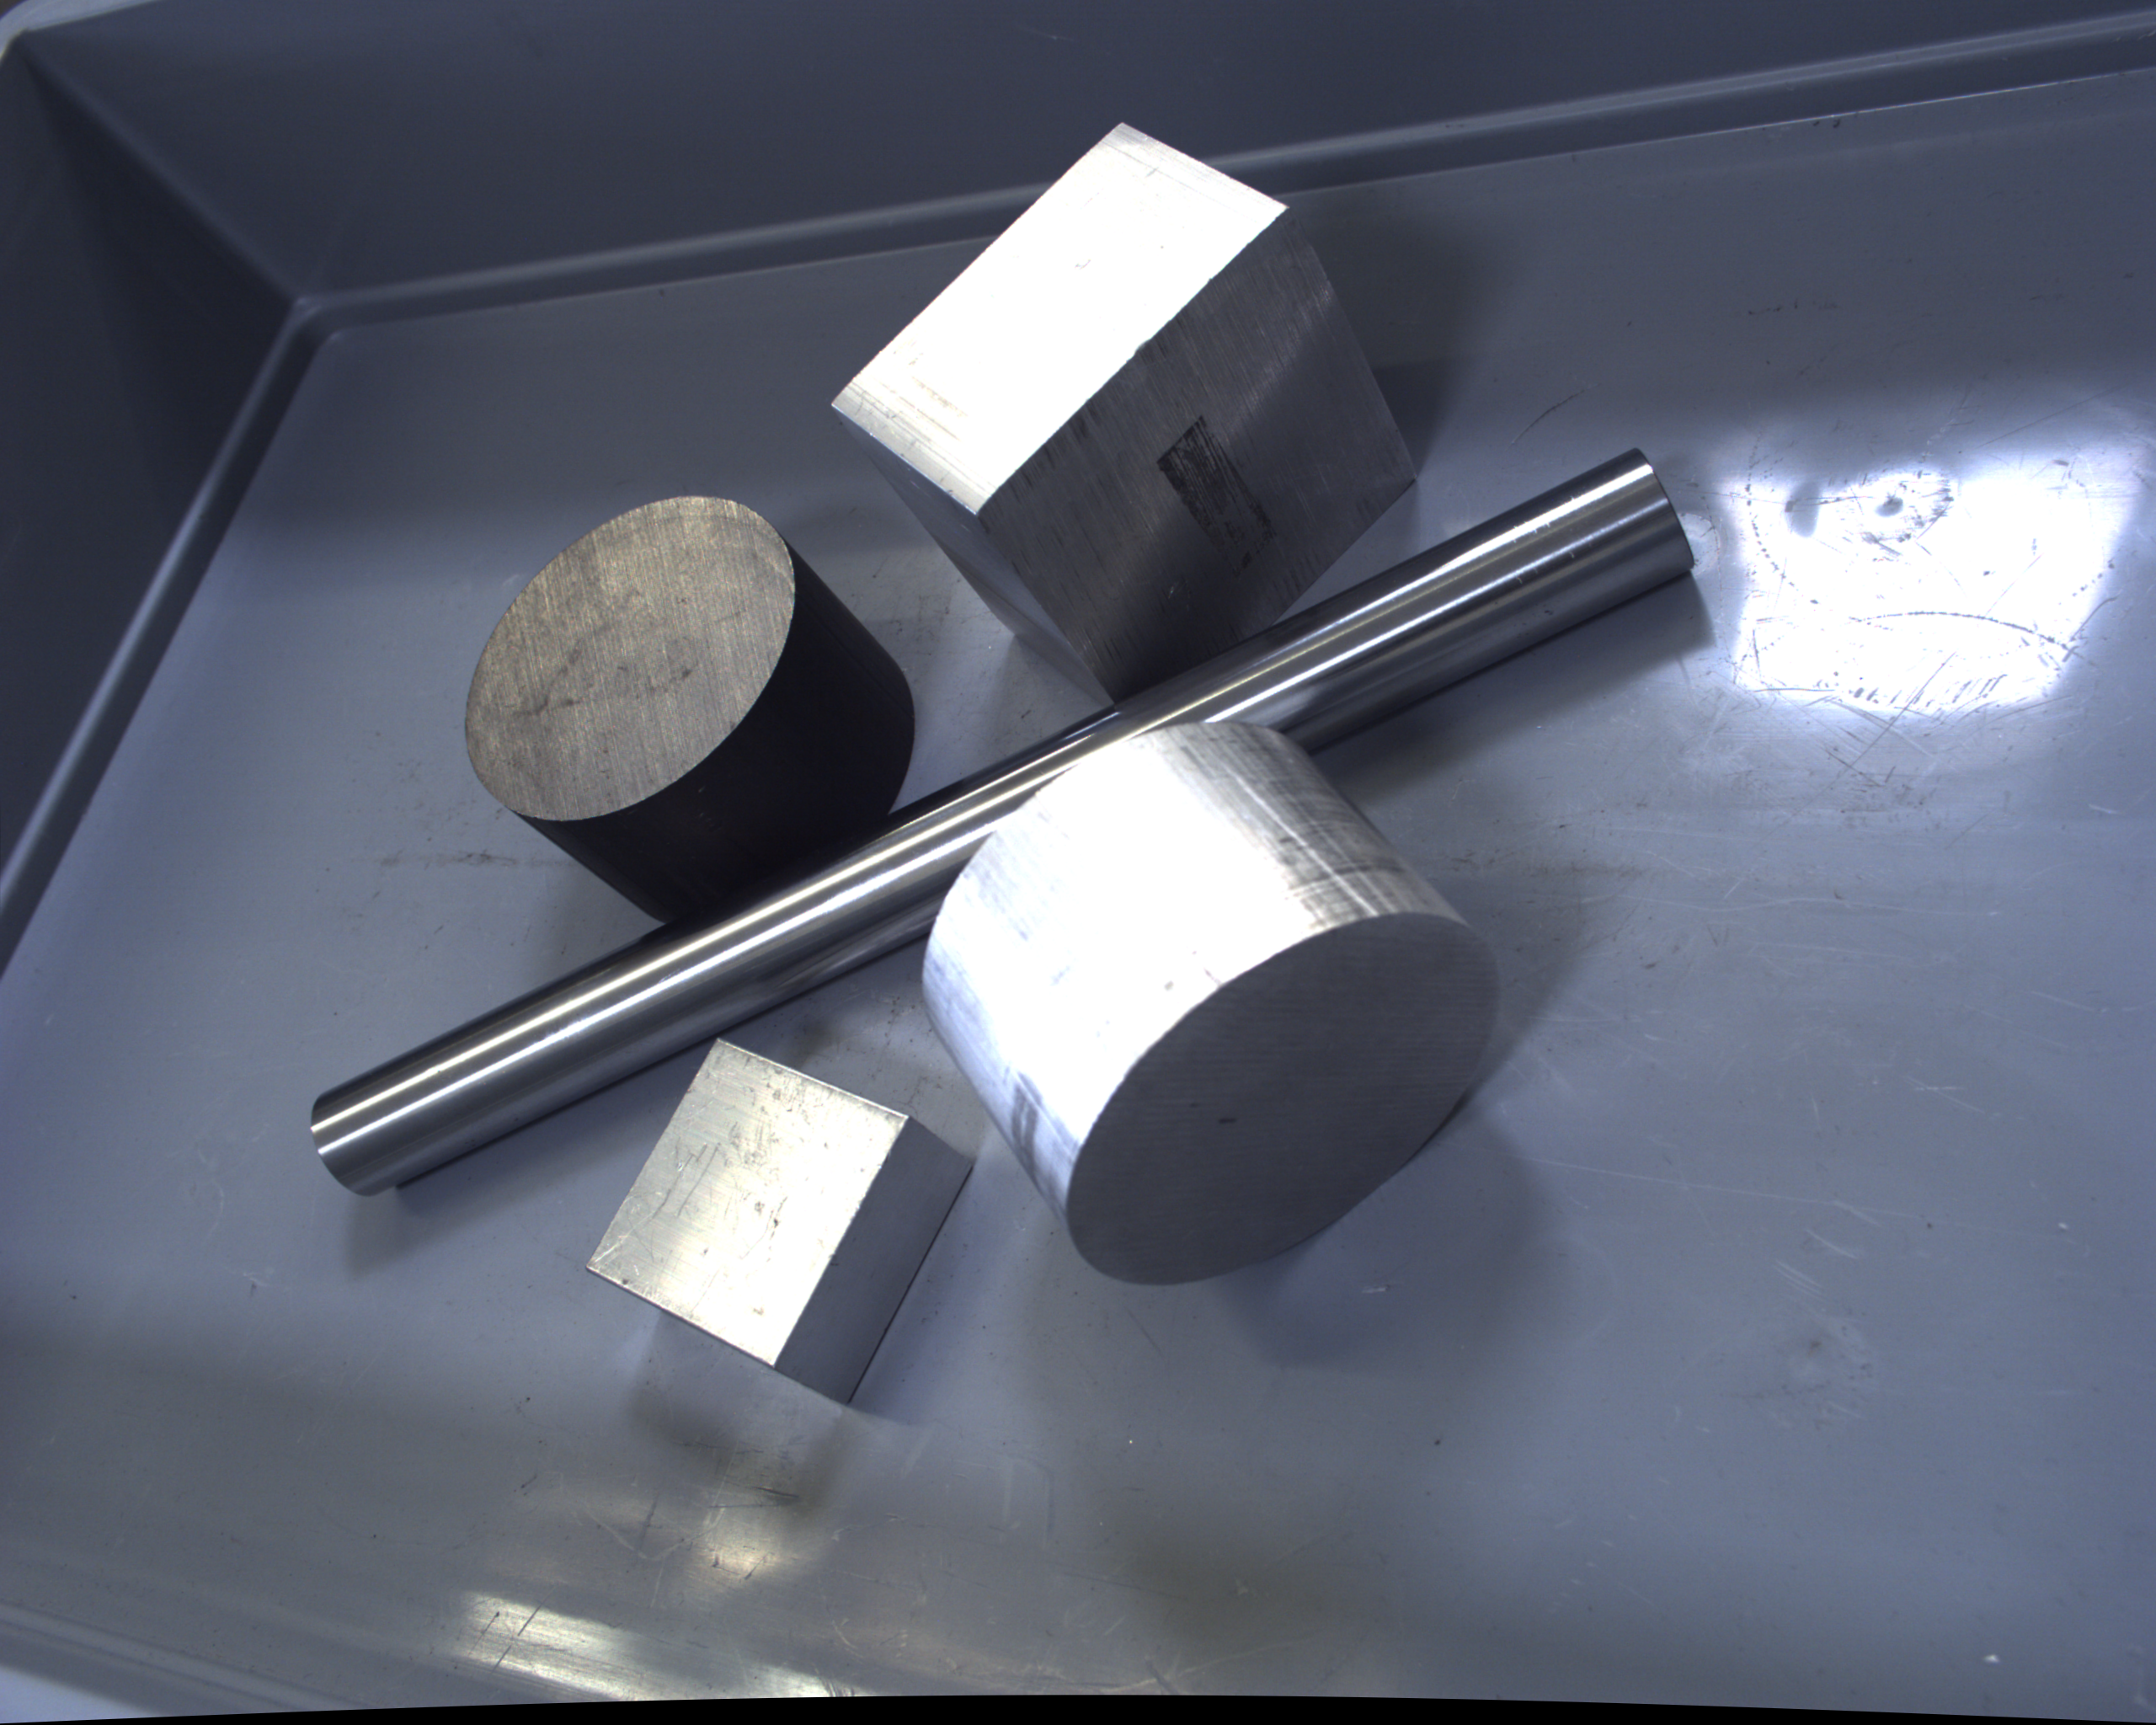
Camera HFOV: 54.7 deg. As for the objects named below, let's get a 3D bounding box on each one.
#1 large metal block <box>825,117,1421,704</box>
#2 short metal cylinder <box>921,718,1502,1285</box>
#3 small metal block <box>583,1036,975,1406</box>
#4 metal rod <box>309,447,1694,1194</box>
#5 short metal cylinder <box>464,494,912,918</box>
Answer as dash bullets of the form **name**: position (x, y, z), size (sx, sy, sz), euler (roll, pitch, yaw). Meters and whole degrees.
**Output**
- **large metal block**: position (0.011, -0.083, 0.414), size (0.080, 0.080, 0.050), euler (-45, 51, -3)
- **short metal cylinder**: position (0.022, 0.023, 0.343), size (0.080, 0.080, 0.050), euler (-40, 52, 1)
- **small metal block**: position (-0.056, 0.066, 0.392), size (0.050, 0.025, 0.050), euler (16, 70, 34)
- **metal rod**: position (-0.024, -0.003, 0.418), size (0.301, 0.025, 0.025), euler (-25, 53, 12)
- **short metal cylinder**: position (-0.083, -0.032, 0.451), size (0.080, 0.050, 0.080), euler (-13, 56, 21)
